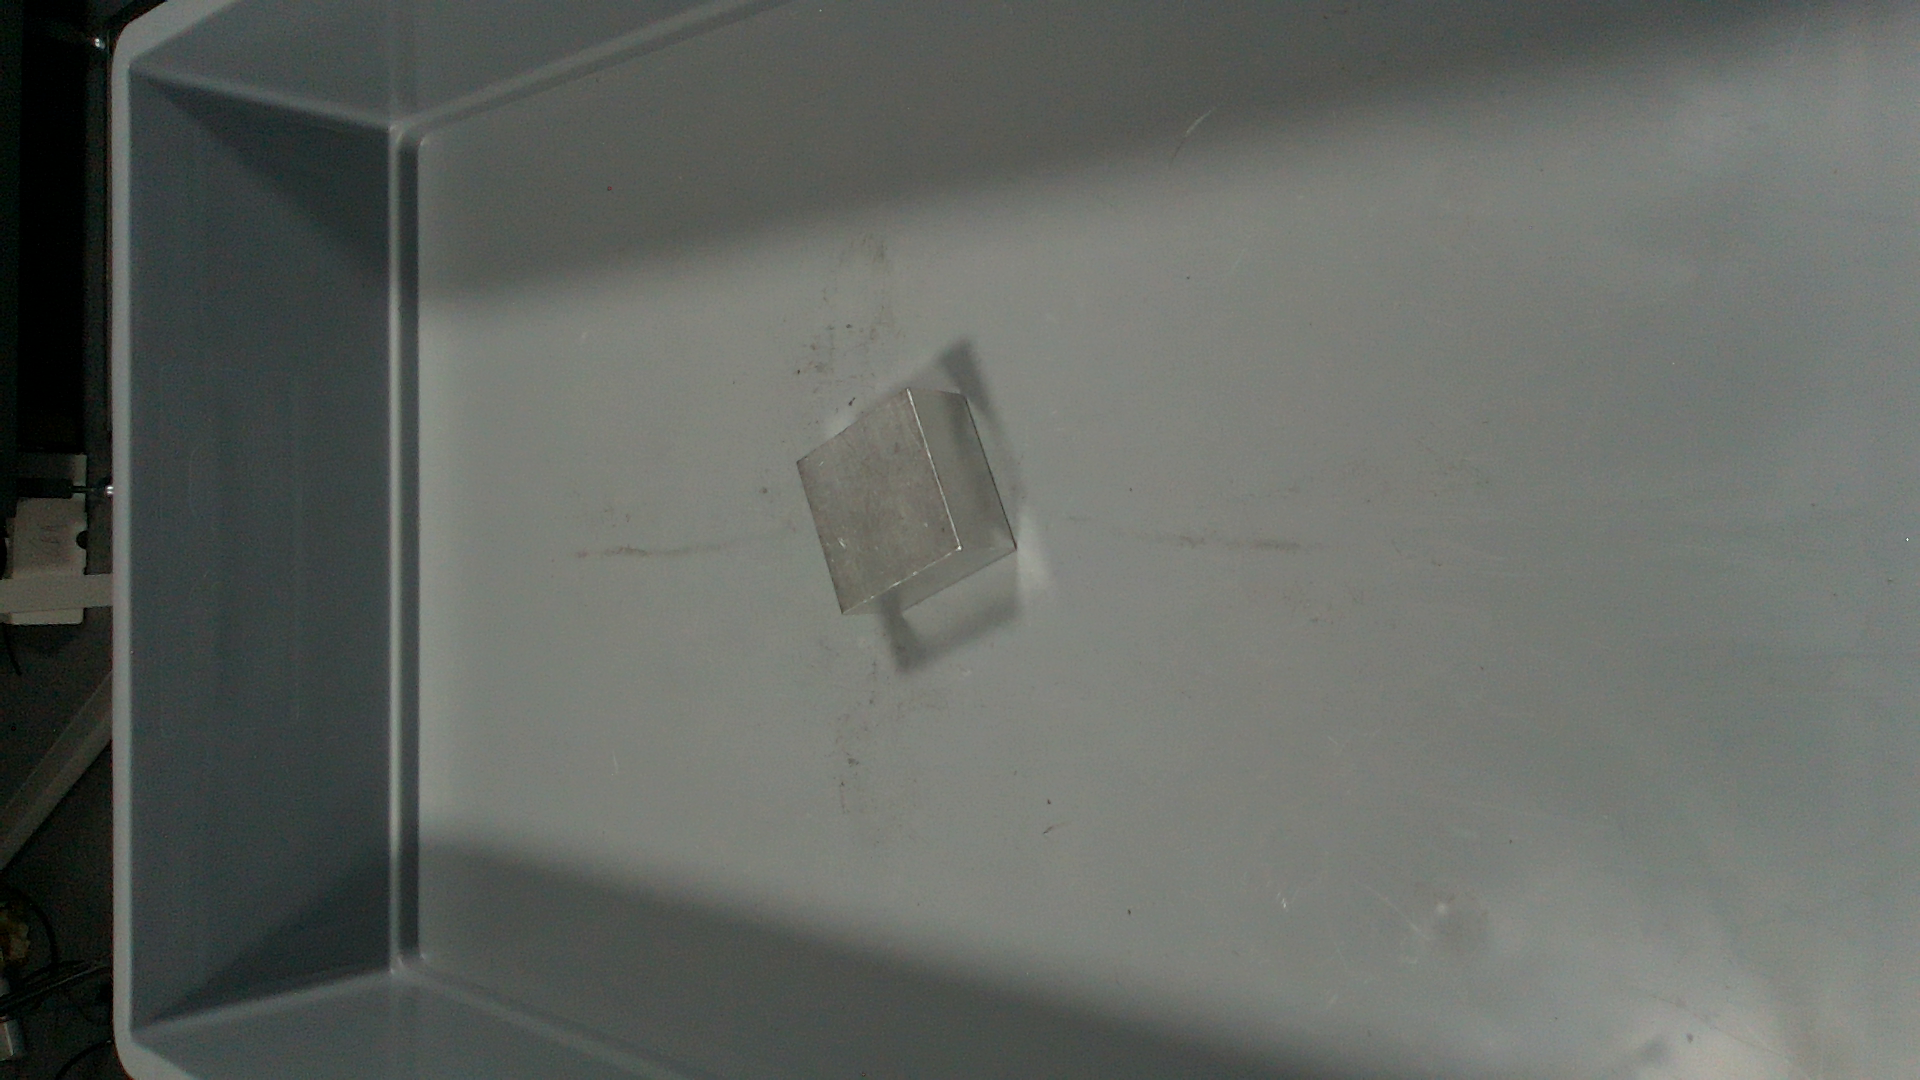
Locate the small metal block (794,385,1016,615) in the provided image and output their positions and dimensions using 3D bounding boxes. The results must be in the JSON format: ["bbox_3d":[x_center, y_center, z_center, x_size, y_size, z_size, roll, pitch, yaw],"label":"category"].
[{"bbox_3d":[-0.017,-0.011,0.405,0.050,0.025,0.050,-30,72,36],"label":"small metal block"}]
